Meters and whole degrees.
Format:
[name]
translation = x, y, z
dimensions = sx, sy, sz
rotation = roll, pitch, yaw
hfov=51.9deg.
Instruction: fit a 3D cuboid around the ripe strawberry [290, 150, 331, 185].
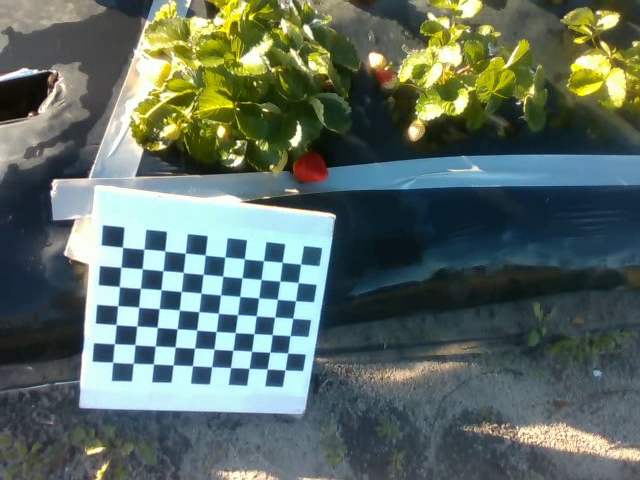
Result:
[ripe strawberry]
translation = -0.010, -0.091, 0.832
dimensions = 0.048, 0.045, 0.063
rotation = 27, 8, -46
